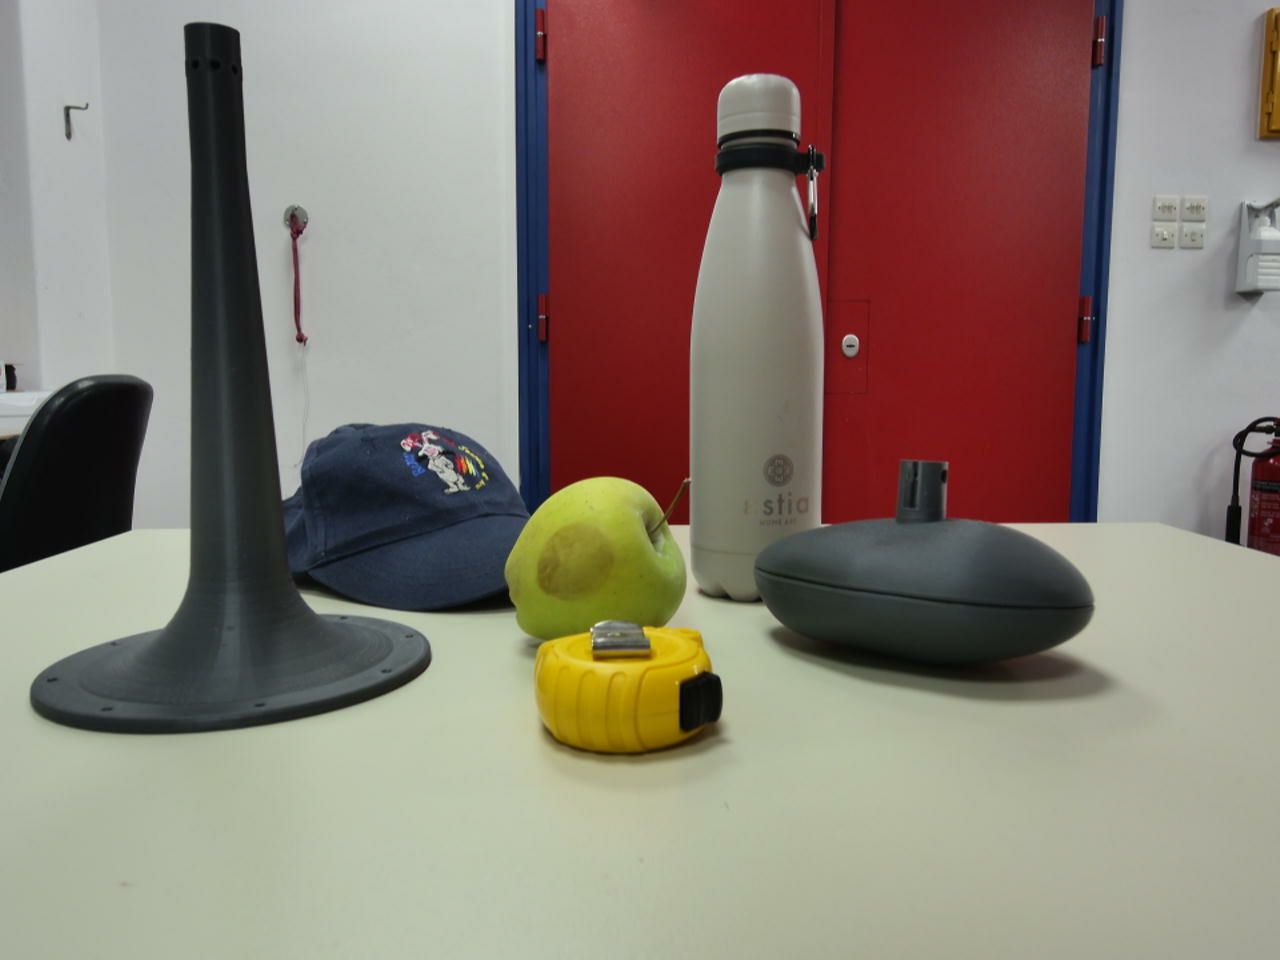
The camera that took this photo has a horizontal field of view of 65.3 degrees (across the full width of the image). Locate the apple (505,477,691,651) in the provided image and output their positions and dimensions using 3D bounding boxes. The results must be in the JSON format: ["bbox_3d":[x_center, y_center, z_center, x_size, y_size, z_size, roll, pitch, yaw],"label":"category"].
[{"bbox_3d":[-0.018,0.036,0.442,0.077,0.075,0.072,4,6,43],"label":"apple"}]
